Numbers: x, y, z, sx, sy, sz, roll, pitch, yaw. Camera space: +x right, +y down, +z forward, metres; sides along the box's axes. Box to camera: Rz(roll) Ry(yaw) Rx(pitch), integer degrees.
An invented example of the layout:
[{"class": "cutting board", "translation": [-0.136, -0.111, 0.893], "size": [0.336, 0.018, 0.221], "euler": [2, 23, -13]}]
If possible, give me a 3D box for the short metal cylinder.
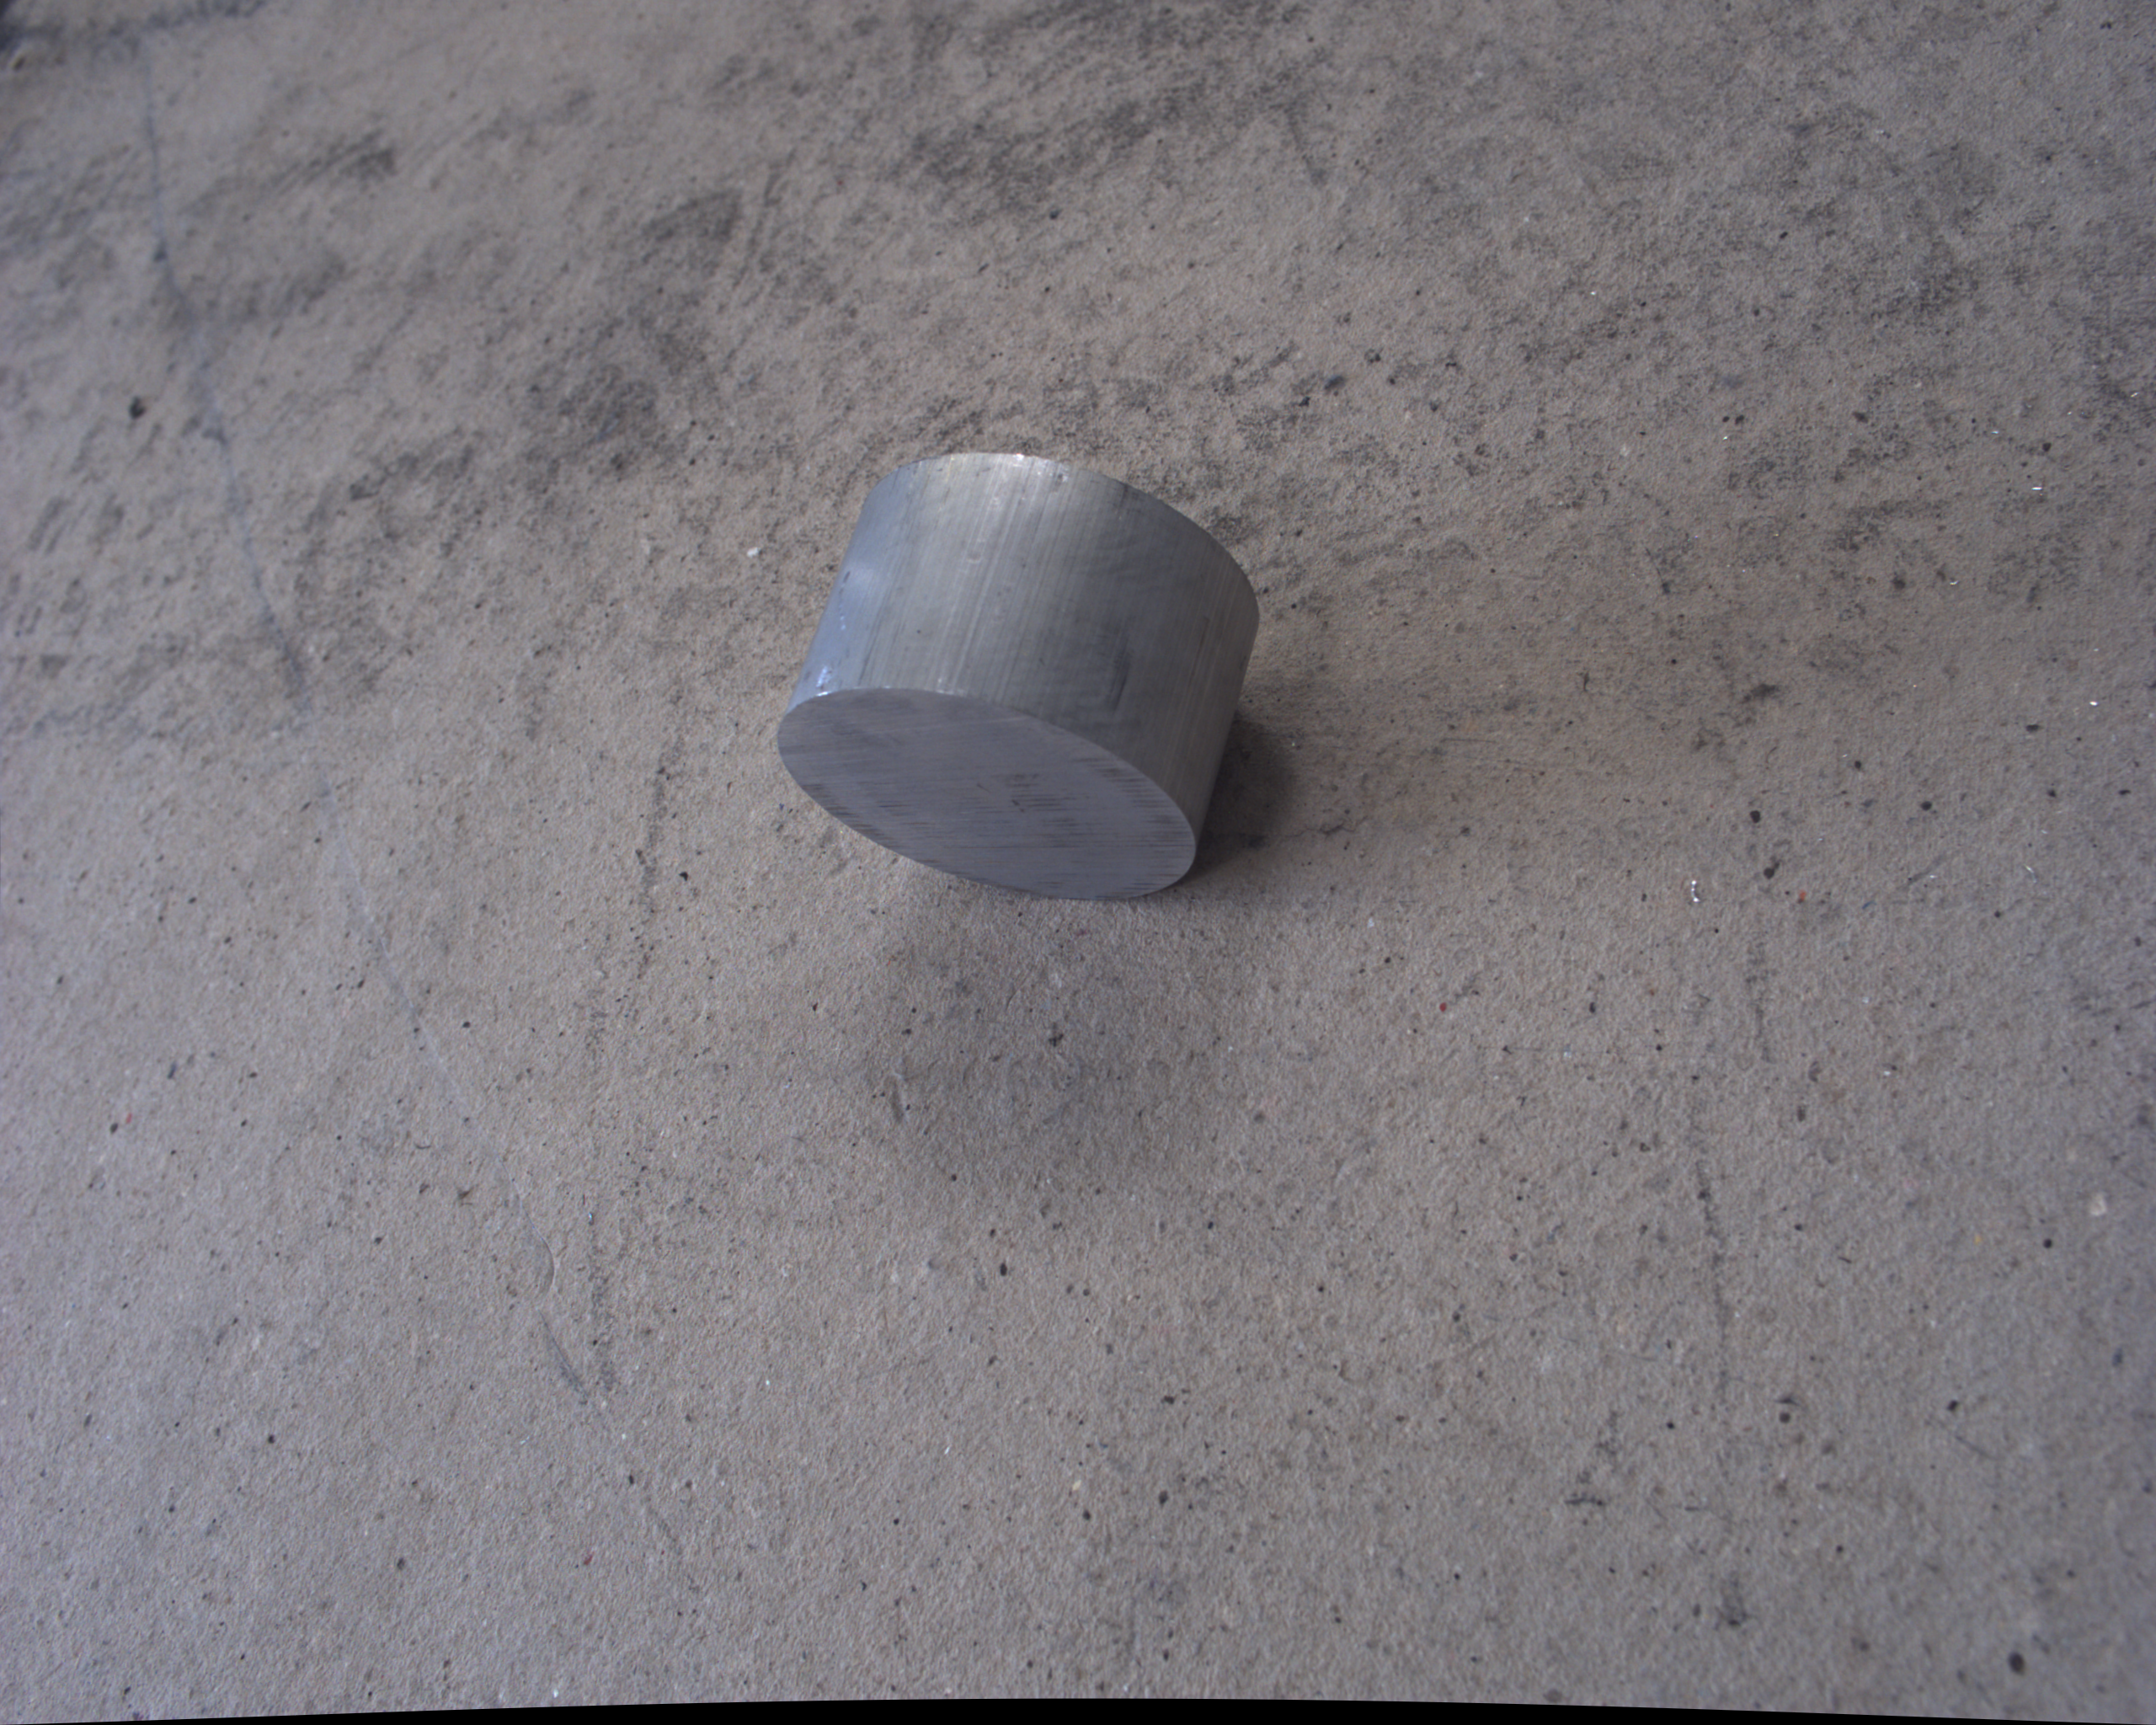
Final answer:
[{"class": "short metal cylinder", "translation": [-0.011, -0.033, 0.397], "size": [0.080, 0.080, 0.050], "euler": [2, 63, 29]}]
